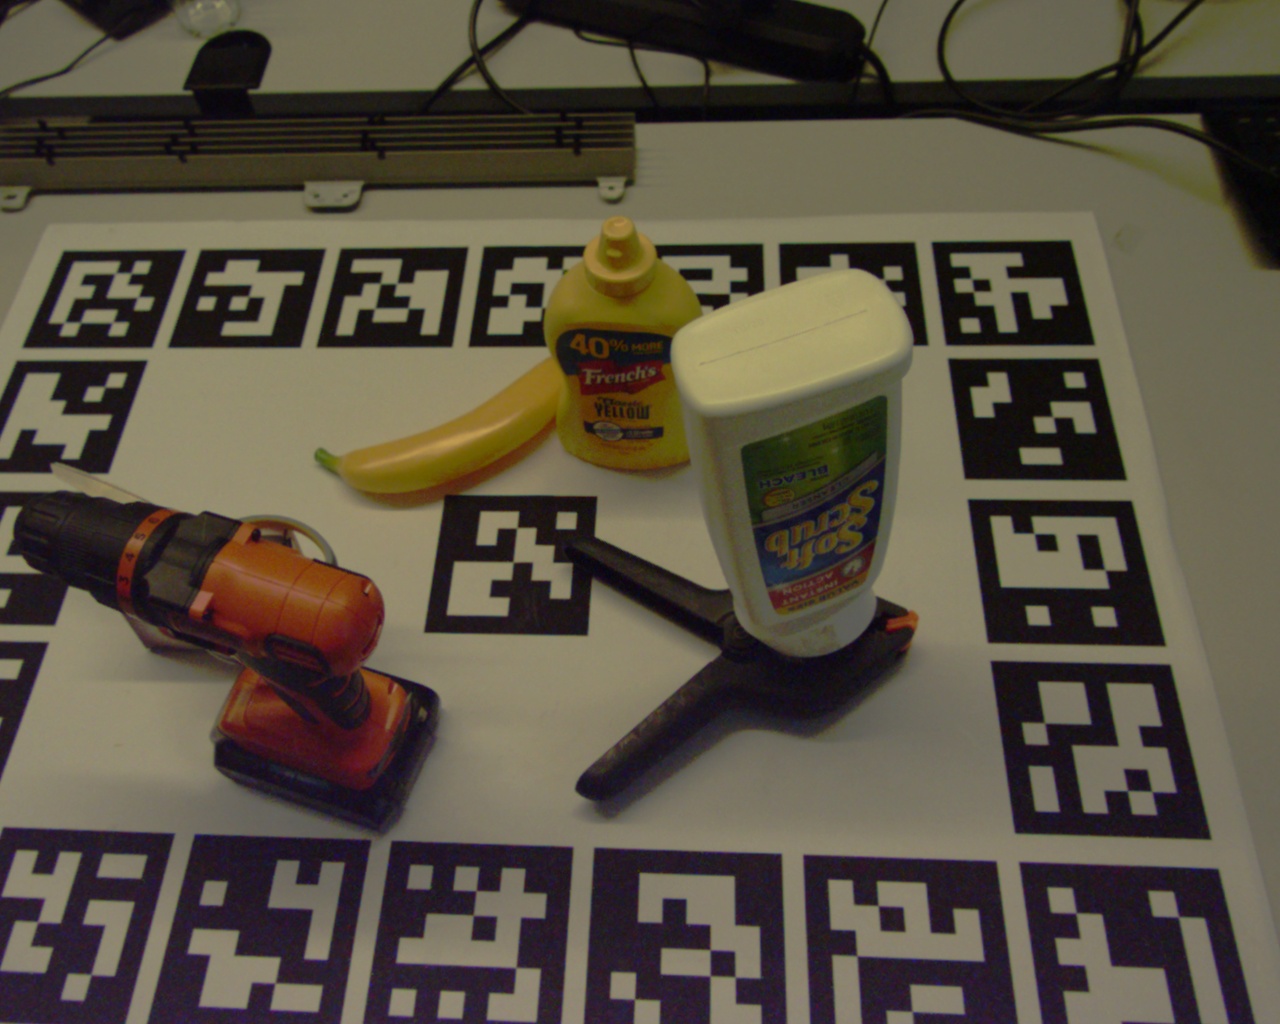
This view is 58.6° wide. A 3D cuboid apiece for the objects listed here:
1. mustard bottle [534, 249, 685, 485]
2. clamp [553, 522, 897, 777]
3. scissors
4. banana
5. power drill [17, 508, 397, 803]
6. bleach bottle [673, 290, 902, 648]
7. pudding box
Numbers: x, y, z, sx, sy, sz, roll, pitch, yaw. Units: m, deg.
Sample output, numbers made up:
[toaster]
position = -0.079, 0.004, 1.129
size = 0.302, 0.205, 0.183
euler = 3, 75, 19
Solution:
[mustard bottle]
position = -0.018, -0.093, 0.725
size = 0.097, 0.191, 0.058
euler = 14, 59, 10
[clamp]
position = 0.051, 0.071, 0.683
size = 0.203, 0.036, 0.166
euler = -4, 59, -1
[scissors]
position = -0.274, 0.004, 0.658
size = 0.204, 0.016, 0.087
euler = 25, 66, 13
[banana]
position = -0.123, -0.071, 0.796
size = 0.196, 0.038, 0.075
euler = -34, 45, -16
[power drill]
position = -0.211, 0.075, 0.593
size = 0.186, 0.186, 0.057
euler = 11, 52, 13
[bleach bottle]
position = 0.083, 0.002, 0.601
size = 0.102, 0.249, 0.068
euler = -18, 54, 0
[pudding box]
position = -0.263, 0.044, 0.708
size = 0.114, 0.089, 0.039
euler = 5, 51, 6
